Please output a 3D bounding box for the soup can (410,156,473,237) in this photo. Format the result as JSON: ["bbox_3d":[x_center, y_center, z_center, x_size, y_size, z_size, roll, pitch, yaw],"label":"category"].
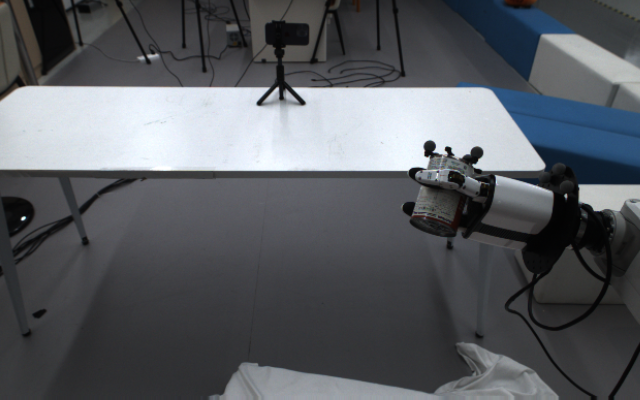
[{"bbox_3d":[0.175,-0.008,0.696,0.067,0.067,0.101,16,76,19],"label":"soup can"}]
